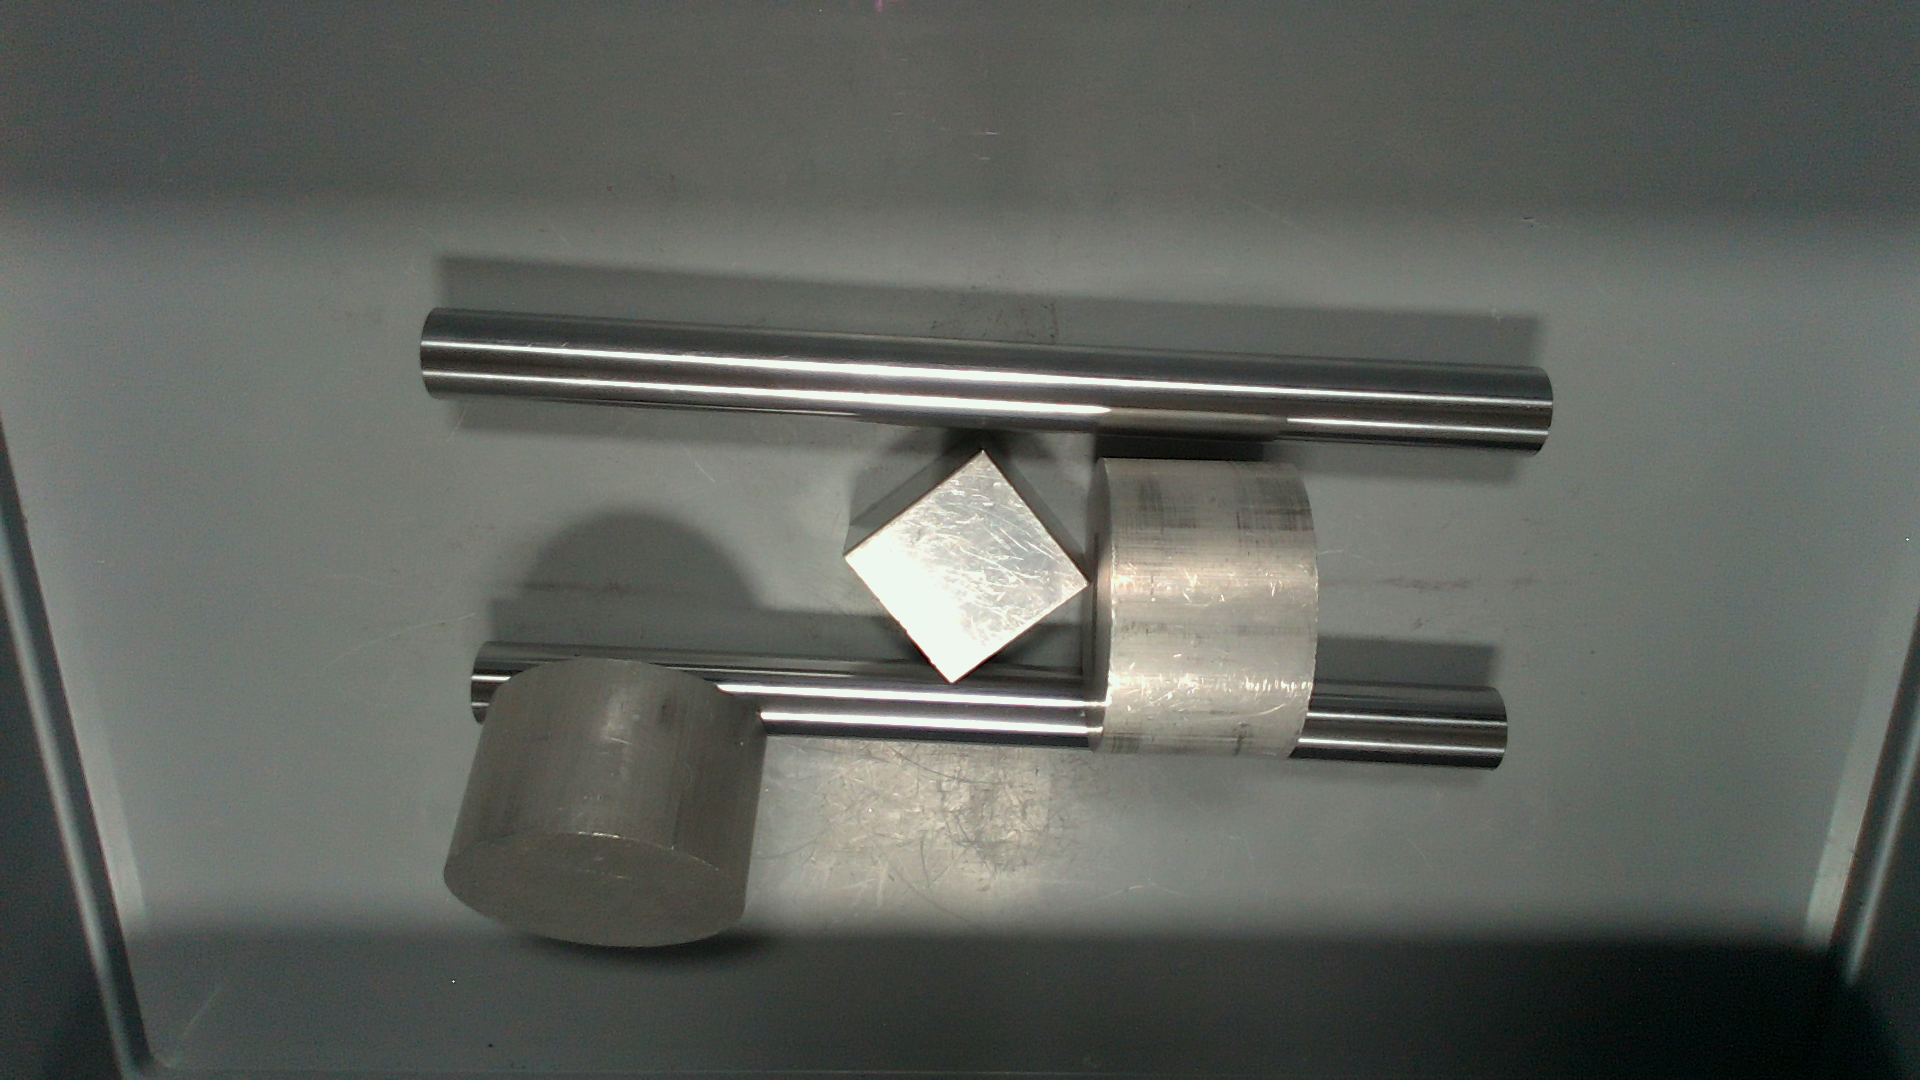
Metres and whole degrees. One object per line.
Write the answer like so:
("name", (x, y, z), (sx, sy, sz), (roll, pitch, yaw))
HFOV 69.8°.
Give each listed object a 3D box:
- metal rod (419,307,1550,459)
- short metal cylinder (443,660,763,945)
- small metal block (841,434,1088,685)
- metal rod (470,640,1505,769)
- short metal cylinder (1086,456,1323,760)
("metal rod", (0.008, -0.043, 0.376), (0.300, 0.025, 0.025), (3, 110, -1))
("short metal cylinder", (-0.098, 0.076, 0.388), (0.080, 0.050, 0.080), (1, 144, 1))
("small metal block", (0.002, 0.004, 0.394), (0.050, 0.025, 0.050), (-36, 106, 12))
("metal rod", (0.009, 0.049, 0.410), (0.300, 0.025, 0.025), (3, 110, -1))
("short metal cylinder", (0.062, 0.018, 0.371), (0.050, 0.080, 0.080), (2, 110, -1))
